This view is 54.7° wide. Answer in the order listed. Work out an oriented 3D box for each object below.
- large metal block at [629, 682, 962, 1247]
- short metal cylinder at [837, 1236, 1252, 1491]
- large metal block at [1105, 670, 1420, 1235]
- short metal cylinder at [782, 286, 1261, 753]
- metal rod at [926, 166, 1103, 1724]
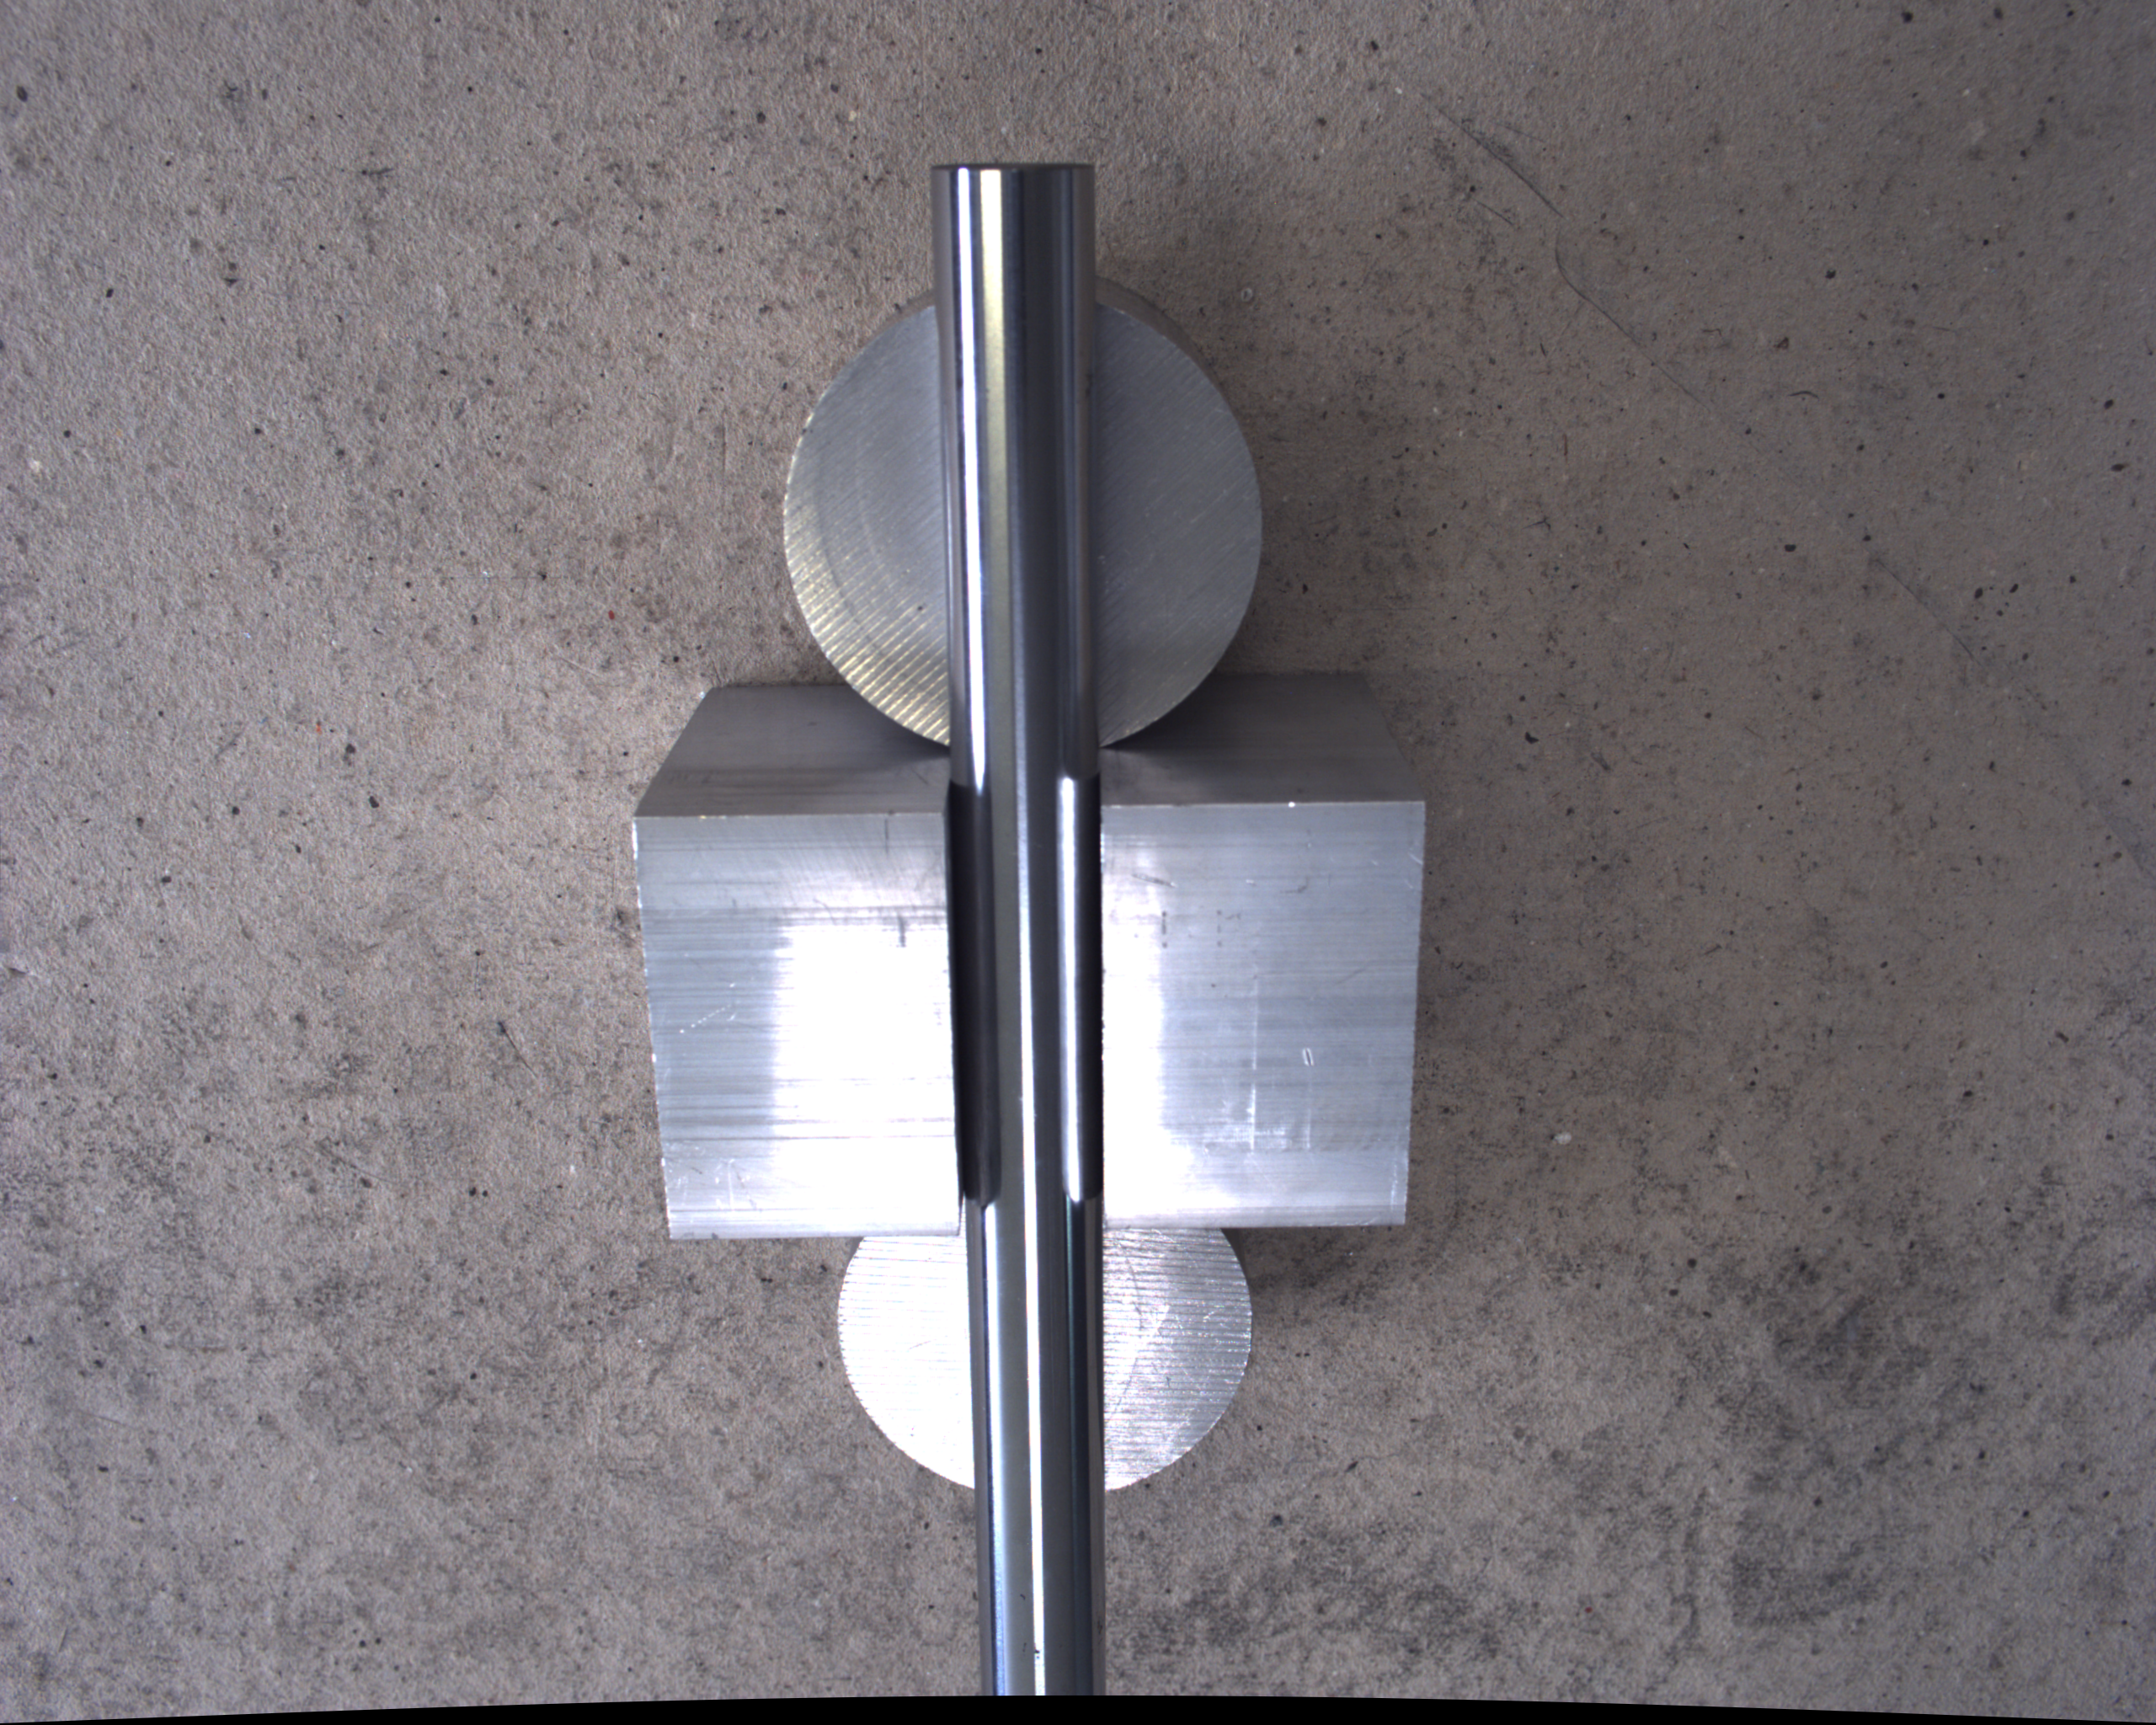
[{"bbox_3d":[-0.047,0.015,0.387,0.050,0.080,0.079,-1,110,0],"label":"large metal block"},{"bbox_3d":[-0.007,0.082,0.428,0.081,0.050,0.079,0,110,0],"label":"short metal cylinder"},{"bbox_3d":[0.030,0.013,0.387,0.050,0.080,0.079,-1,110,0],"label":"large metal block"},{"bbox_3d":[-0.009,-0.064,0.374,0.081,0.050,0.079,0,110,0],"label":"short metal cylinder"},{"bbox_3d":[-0.009,0.034,0.369,0.025,0.025,0.298,-1,110,0],"label":"metal rod"}]
